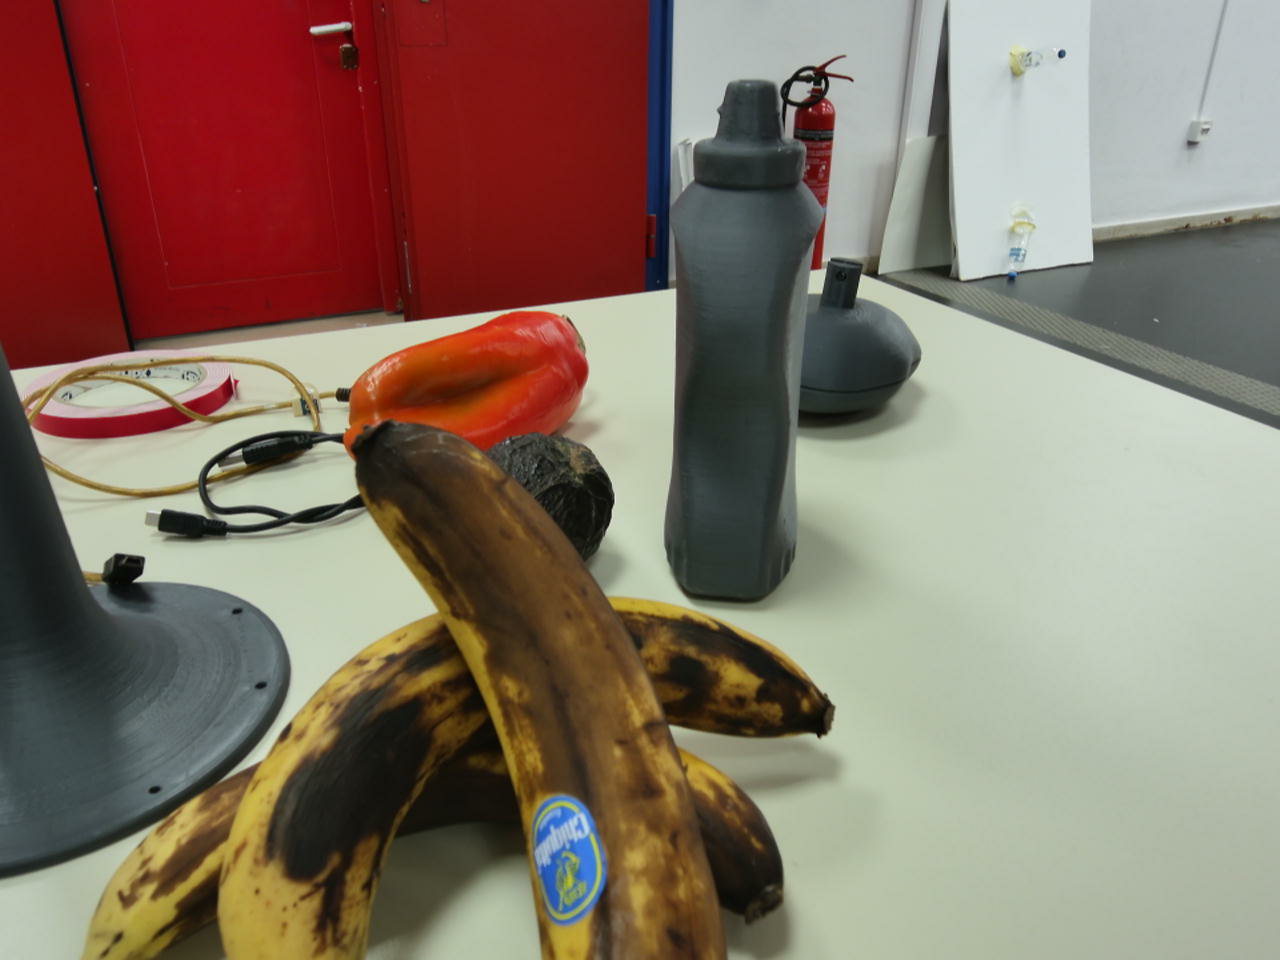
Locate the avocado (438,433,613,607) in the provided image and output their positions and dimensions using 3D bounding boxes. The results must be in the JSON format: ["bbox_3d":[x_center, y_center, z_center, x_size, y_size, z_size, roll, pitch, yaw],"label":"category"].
[{"bbox_3d":[-0.050,0.015,0.416,0.062,0.062,0.092,19,31,36],"label":"avocado"}]
